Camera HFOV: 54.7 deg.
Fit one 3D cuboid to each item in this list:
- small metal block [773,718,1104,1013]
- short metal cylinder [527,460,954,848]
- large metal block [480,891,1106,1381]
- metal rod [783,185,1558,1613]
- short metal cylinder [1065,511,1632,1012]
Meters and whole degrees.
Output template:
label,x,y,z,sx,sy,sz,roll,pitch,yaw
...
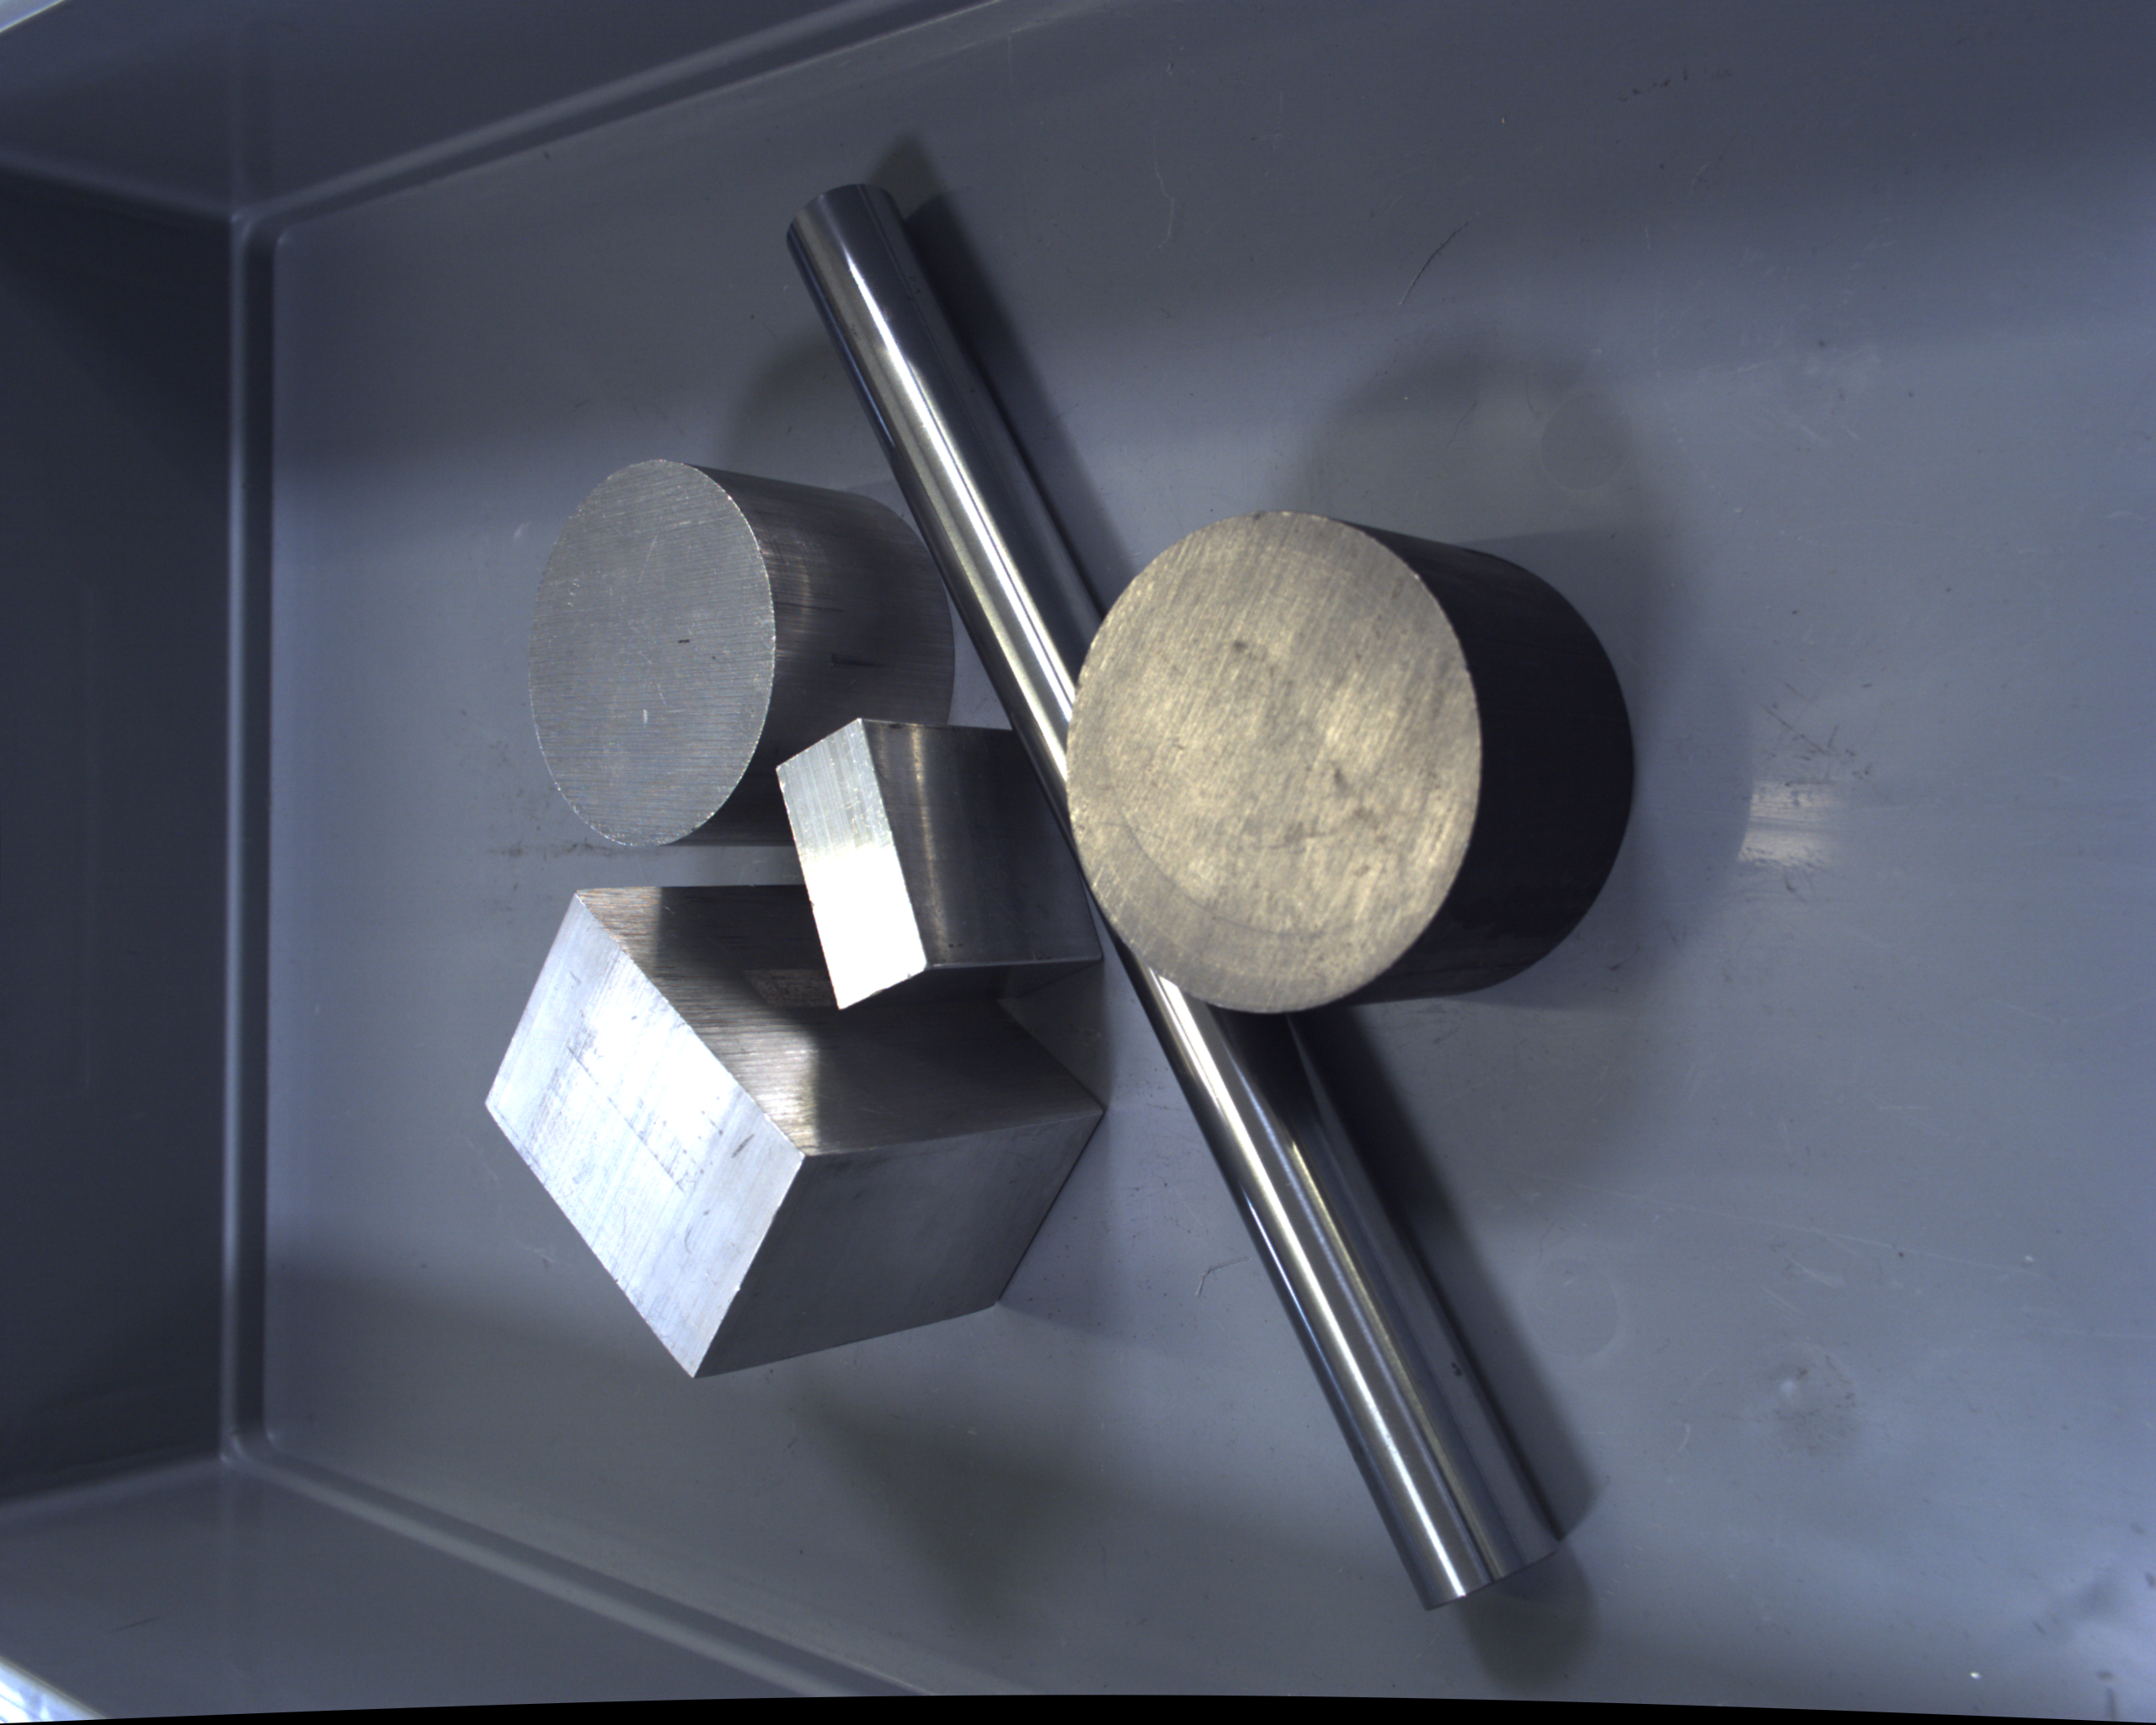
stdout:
label,x,y,z,sx,sy,sz,roll,pitch,yaw
small metal block,-0.027,0.001,0.410,0.025,0.050,0.050,-27,73,37
short metal cylinder,-0.073,-0.043,0.449,0.080,0.050,0.079,0,90,40
large metal block,-0.057,0.049,0.414,0.080,0.081,0.050,42,116,32
metal rod,0.009,-0.008,0.397,0.025,0.025,0.299,-38,67,33
short metal cylinder,0.045,-0.016,0.351,0.080,0.050,0.079,0,90,40
